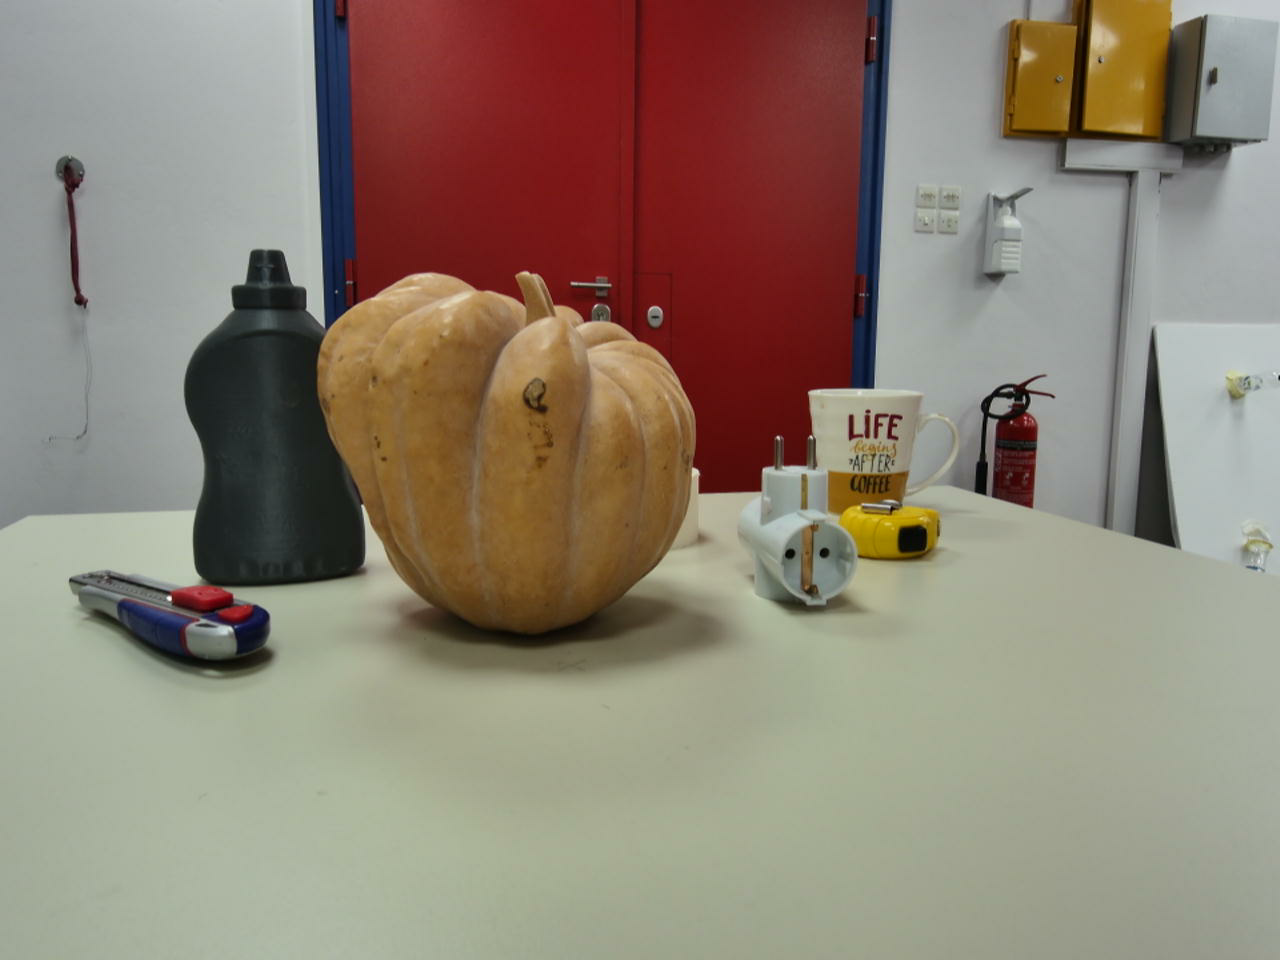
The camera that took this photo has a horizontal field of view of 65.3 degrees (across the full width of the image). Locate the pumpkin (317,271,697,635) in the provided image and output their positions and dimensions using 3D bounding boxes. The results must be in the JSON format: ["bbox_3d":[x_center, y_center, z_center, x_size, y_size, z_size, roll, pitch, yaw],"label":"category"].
[{"bbox_3d":[-0.064,-0.016,0.507,0.199,0.177,0.198,0,7,0],"label":"pumpkin"}]
